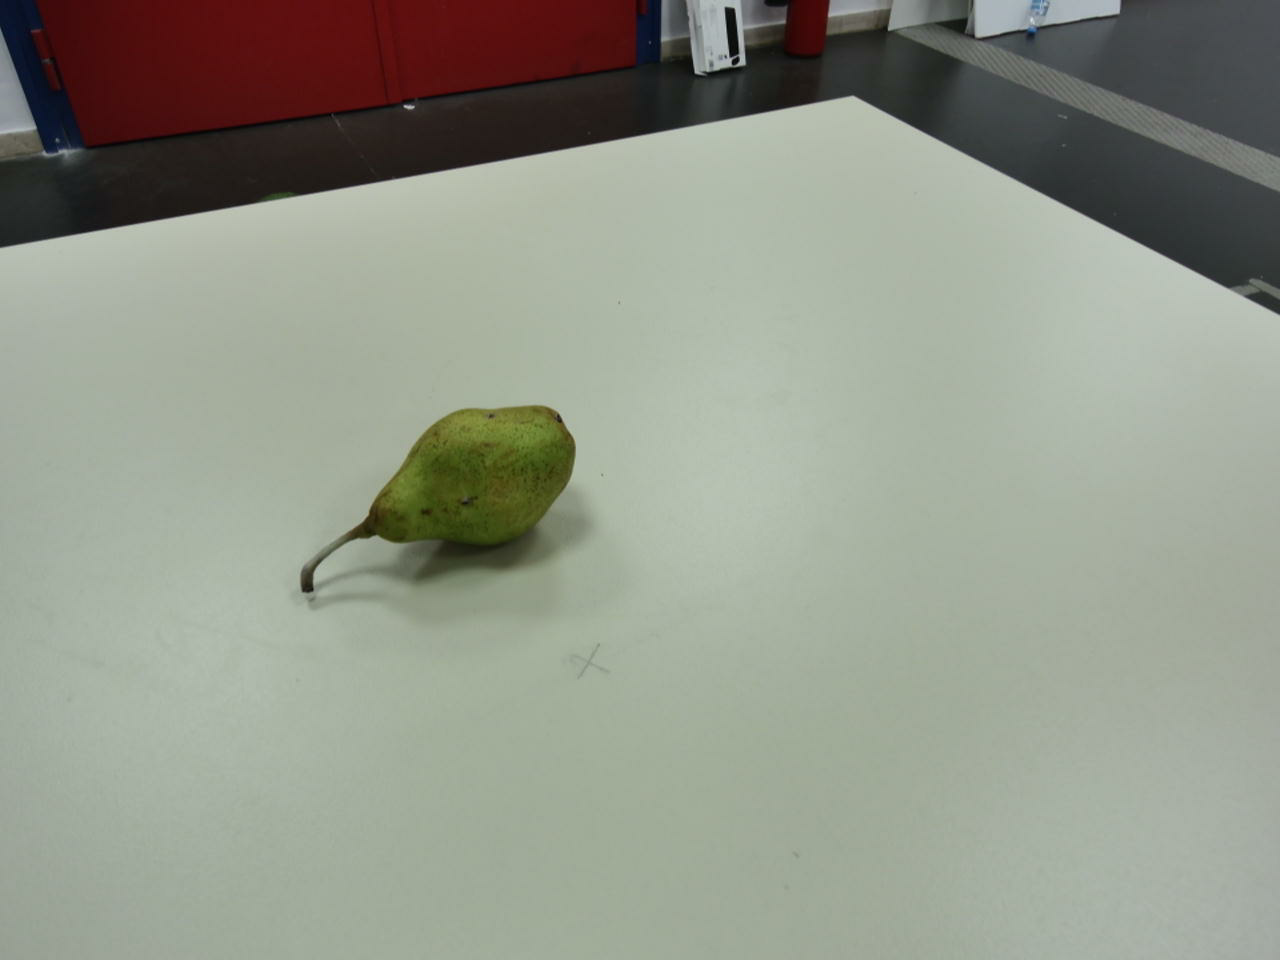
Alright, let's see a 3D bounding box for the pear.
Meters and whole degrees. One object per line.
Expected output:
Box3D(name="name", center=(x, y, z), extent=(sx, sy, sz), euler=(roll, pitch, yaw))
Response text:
Box3D(name="pear", center=(-0.081, 0.001, 0.395), extent=(0.111, 0.056, 0.056), euler=(-7, 38, -9))
